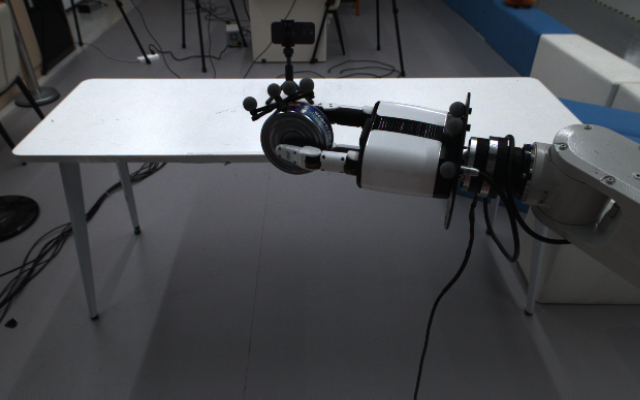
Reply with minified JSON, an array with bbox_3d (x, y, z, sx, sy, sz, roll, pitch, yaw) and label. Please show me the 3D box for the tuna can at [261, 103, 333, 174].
[{"bbox_3d":[-0.025,-0.069,0.593,0.085,0.085,0.034,11,34,13],"label":"tuna can"}]
